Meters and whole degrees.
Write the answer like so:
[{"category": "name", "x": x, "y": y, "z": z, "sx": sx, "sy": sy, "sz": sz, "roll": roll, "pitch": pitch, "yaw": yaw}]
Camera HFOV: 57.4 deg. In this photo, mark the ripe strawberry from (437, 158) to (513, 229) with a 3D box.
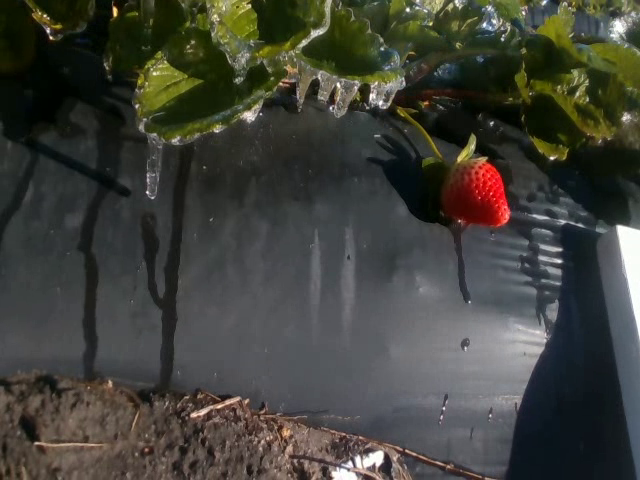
[{"category": "ripe strawberry", "x": 0.089, "y": -0.024, "z": 0.321, "sx": 0.039, "sy": 0.041, "sz": 0.053, "roll": -6, "pitch": 45, "yaw": -19}]
